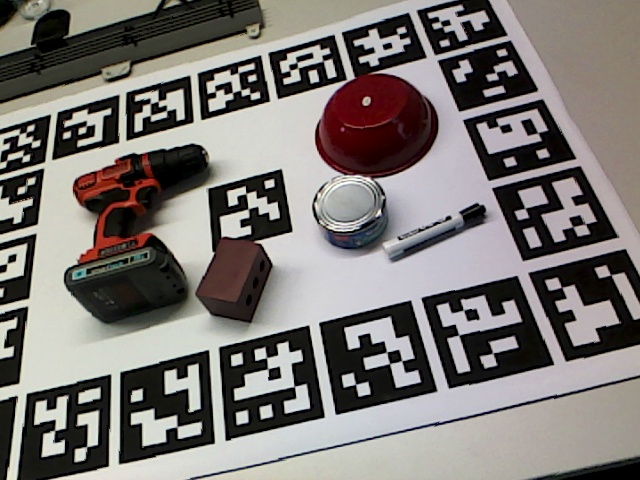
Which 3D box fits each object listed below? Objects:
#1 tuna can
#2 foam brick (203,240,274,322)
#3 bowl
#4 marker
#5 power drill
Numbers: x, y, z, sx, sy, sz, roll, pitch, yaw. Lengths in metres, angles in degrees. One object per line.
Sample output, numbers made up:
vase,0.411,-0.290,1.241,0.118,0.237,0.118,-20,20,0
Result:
tuna can,0.037,-0.040,0.727,0.086,0.033,0.086,-5,56,8
foam brick,-0.091,0.046,0.700,0.051,0.052,0.078,6,61,16
bowl,0.061,-0.158,0.797,0.162,0.055,0.162,-10,50,12
marker,0.130,-0.018,0.696,0.121,0.019,0.020,-23,57,-2
power drill,-0.224,-0.016,0.768,0.184,0.057,0.188,-15,53,0
